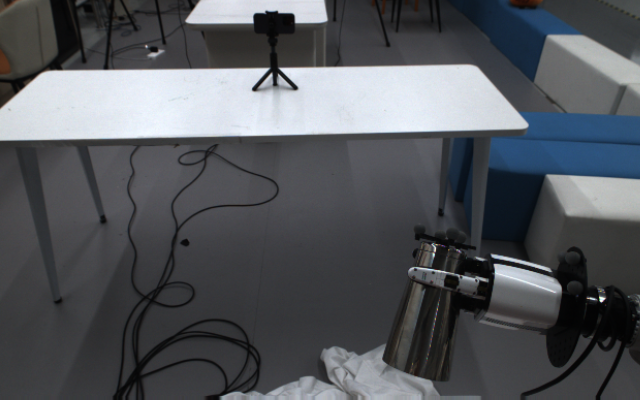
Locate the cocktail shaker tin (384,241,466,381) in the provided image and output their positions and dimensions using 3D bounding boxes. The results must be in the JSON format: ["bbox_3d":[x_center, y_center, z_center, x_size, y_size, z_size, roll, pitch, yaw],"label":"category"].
[{"bbox_3d":[0.153,0.145,0.670,0.093,0.170,0.093,14,-5,1],"label":"cocktail shaker tin"}]
